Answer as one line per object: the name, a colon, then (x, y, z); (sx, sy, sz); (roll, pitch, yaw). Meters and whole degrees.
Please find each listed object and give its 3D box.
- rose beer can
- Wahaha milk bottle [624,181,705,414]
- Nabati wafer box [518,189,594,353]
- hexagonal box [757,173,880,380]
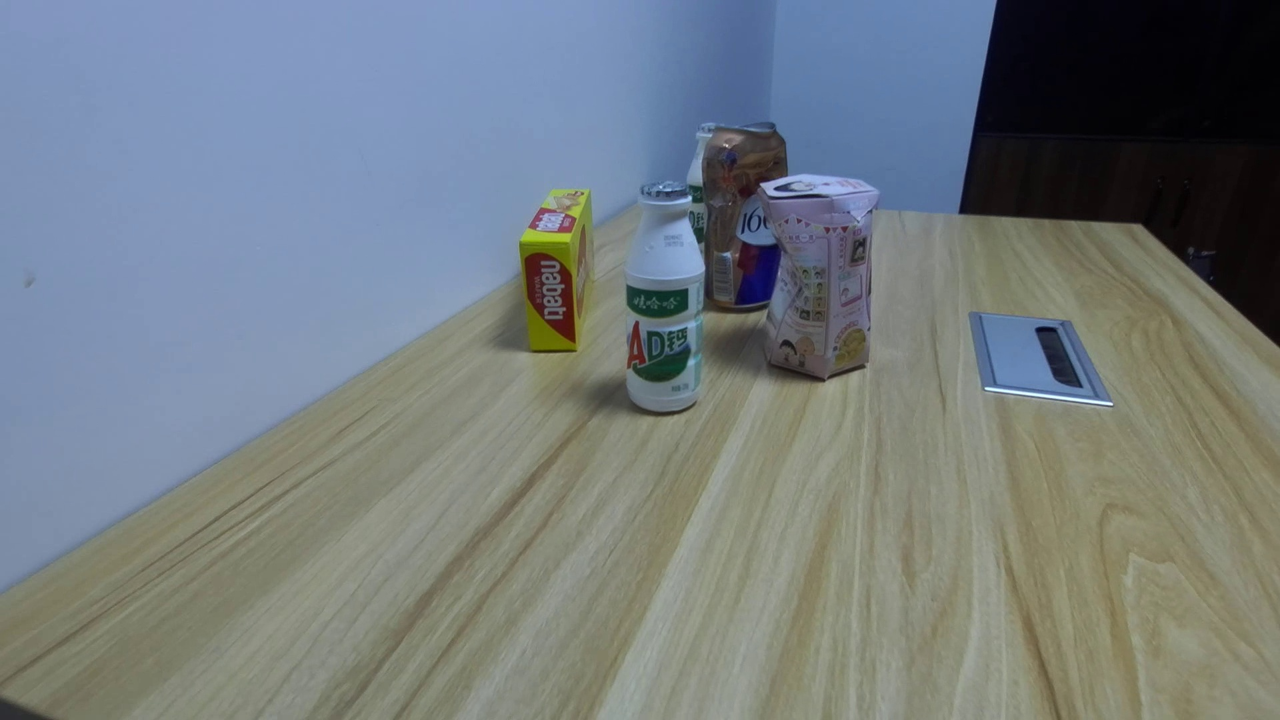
rose beer can: (0.093, -0.127, 0.635); (0.068, 0.162, 0.074); (7, 23, 20)
Wahaha milk bottle: (0.015, -0.040, 0.464); (0.053, 0.147, 0.053); (-1, 26, 1)
Nabati wafer box: (-0.069, -0.090, 0.642); (0.042, 0.093, 0.202); (-1, 25, 1)
hexagonal box: (0.129, -0.063, 0.528); (0.089, 0.134, 0.091); (16, 30, 39)
